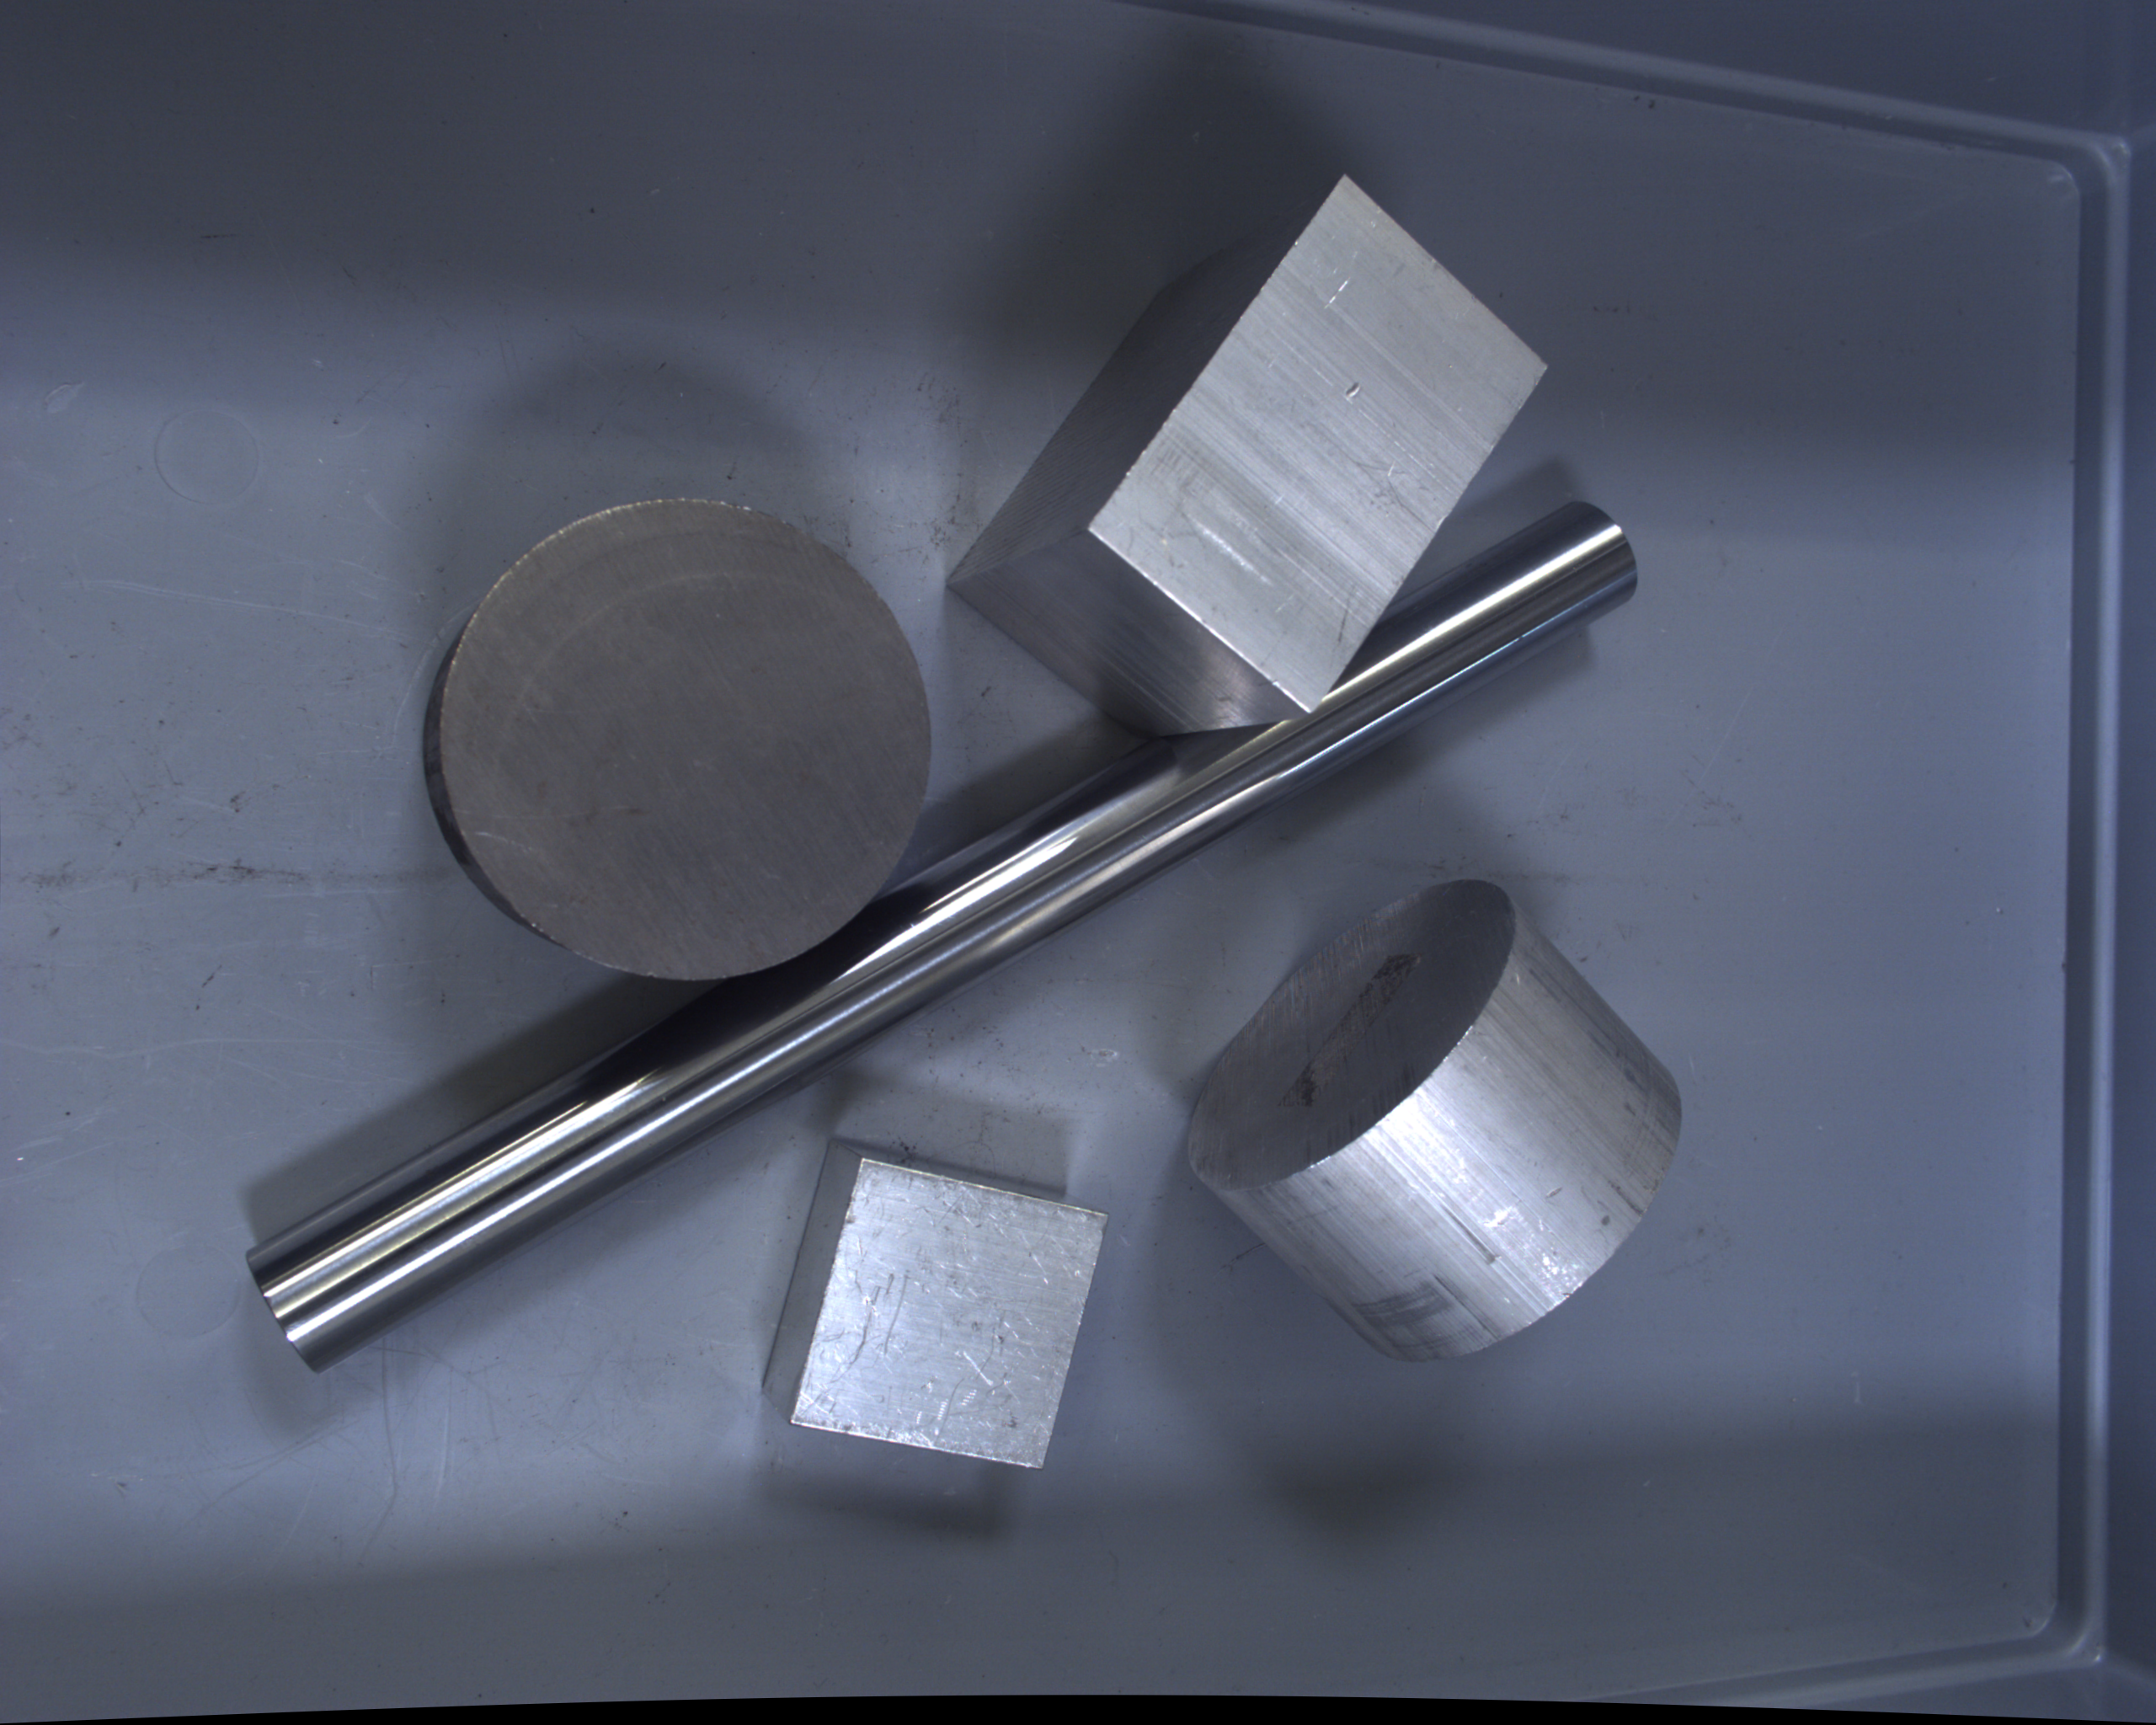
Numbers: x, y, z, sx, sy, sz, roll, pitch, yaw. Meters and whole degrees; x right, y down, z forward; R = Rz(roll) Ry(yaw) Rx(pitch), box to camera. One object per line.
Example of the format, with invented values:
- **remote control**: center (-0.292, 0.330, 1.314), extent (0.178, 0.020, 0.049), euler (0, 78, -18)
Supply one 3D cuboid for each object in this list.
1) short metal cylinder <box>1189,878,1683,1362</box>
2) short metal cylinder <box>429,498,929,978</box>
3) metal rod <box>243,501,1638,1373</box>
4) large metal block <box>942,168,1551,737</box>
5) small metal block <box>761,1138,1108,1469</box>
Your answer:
- **short metal cylinder**: center (0.068, 0.049, 0.405), extent (0.050, 0.080, 0.080), euler (45, 76, -15)
- **short metal cylinder**: center (-0.072, -0.021, 0.369), extent (0.081, 0.050, 0.079), euler (0, 90, -20)
- **metal rod**: center (-0.013, 0.005, 0.405), extent (0.302, 0.025, 0.025), euler (-30, 100, -18)
- **large metal block**: center (0.028, -0.071, 0.390), extent (0.050, 0.080, 0.080), euler (38, 78, -16)
- **small metal block**: center (-0.028, 0.084, 0.399), extent (0.050, 0.025, 0.050), euler (16, 85, -20)
